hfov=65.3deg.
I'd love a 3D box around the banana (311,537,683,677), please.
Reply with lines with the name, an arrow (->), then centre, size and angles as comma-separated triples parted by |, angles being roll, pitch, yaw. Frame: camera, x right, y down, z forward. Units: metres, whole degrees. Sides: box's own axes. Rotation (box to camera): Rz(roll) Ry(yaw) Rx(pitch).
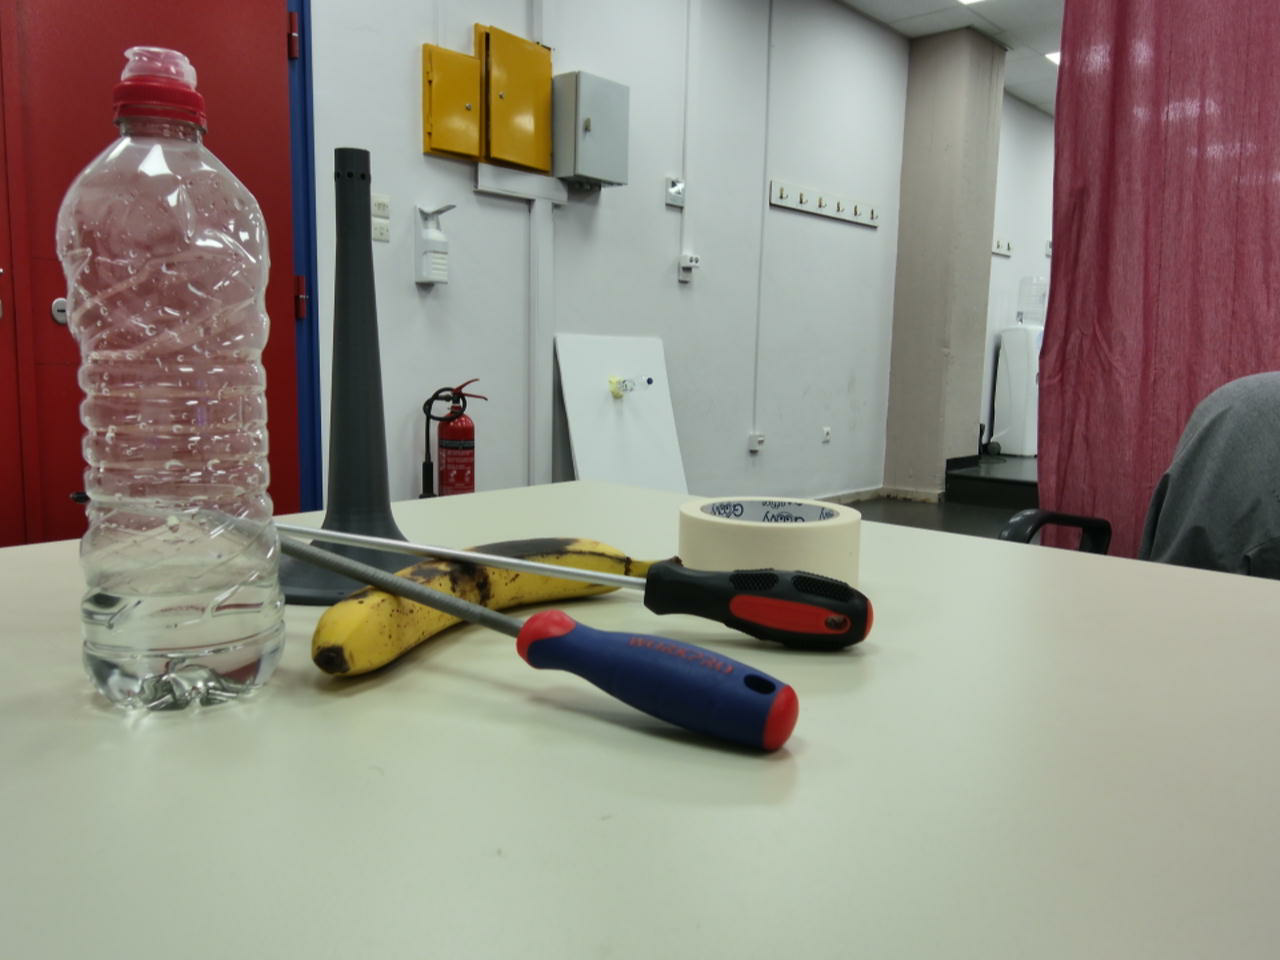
banana -> -0.079, 0.056, 0.505 | 0.084, 0.037, 0.222 | 5, 8, 41
